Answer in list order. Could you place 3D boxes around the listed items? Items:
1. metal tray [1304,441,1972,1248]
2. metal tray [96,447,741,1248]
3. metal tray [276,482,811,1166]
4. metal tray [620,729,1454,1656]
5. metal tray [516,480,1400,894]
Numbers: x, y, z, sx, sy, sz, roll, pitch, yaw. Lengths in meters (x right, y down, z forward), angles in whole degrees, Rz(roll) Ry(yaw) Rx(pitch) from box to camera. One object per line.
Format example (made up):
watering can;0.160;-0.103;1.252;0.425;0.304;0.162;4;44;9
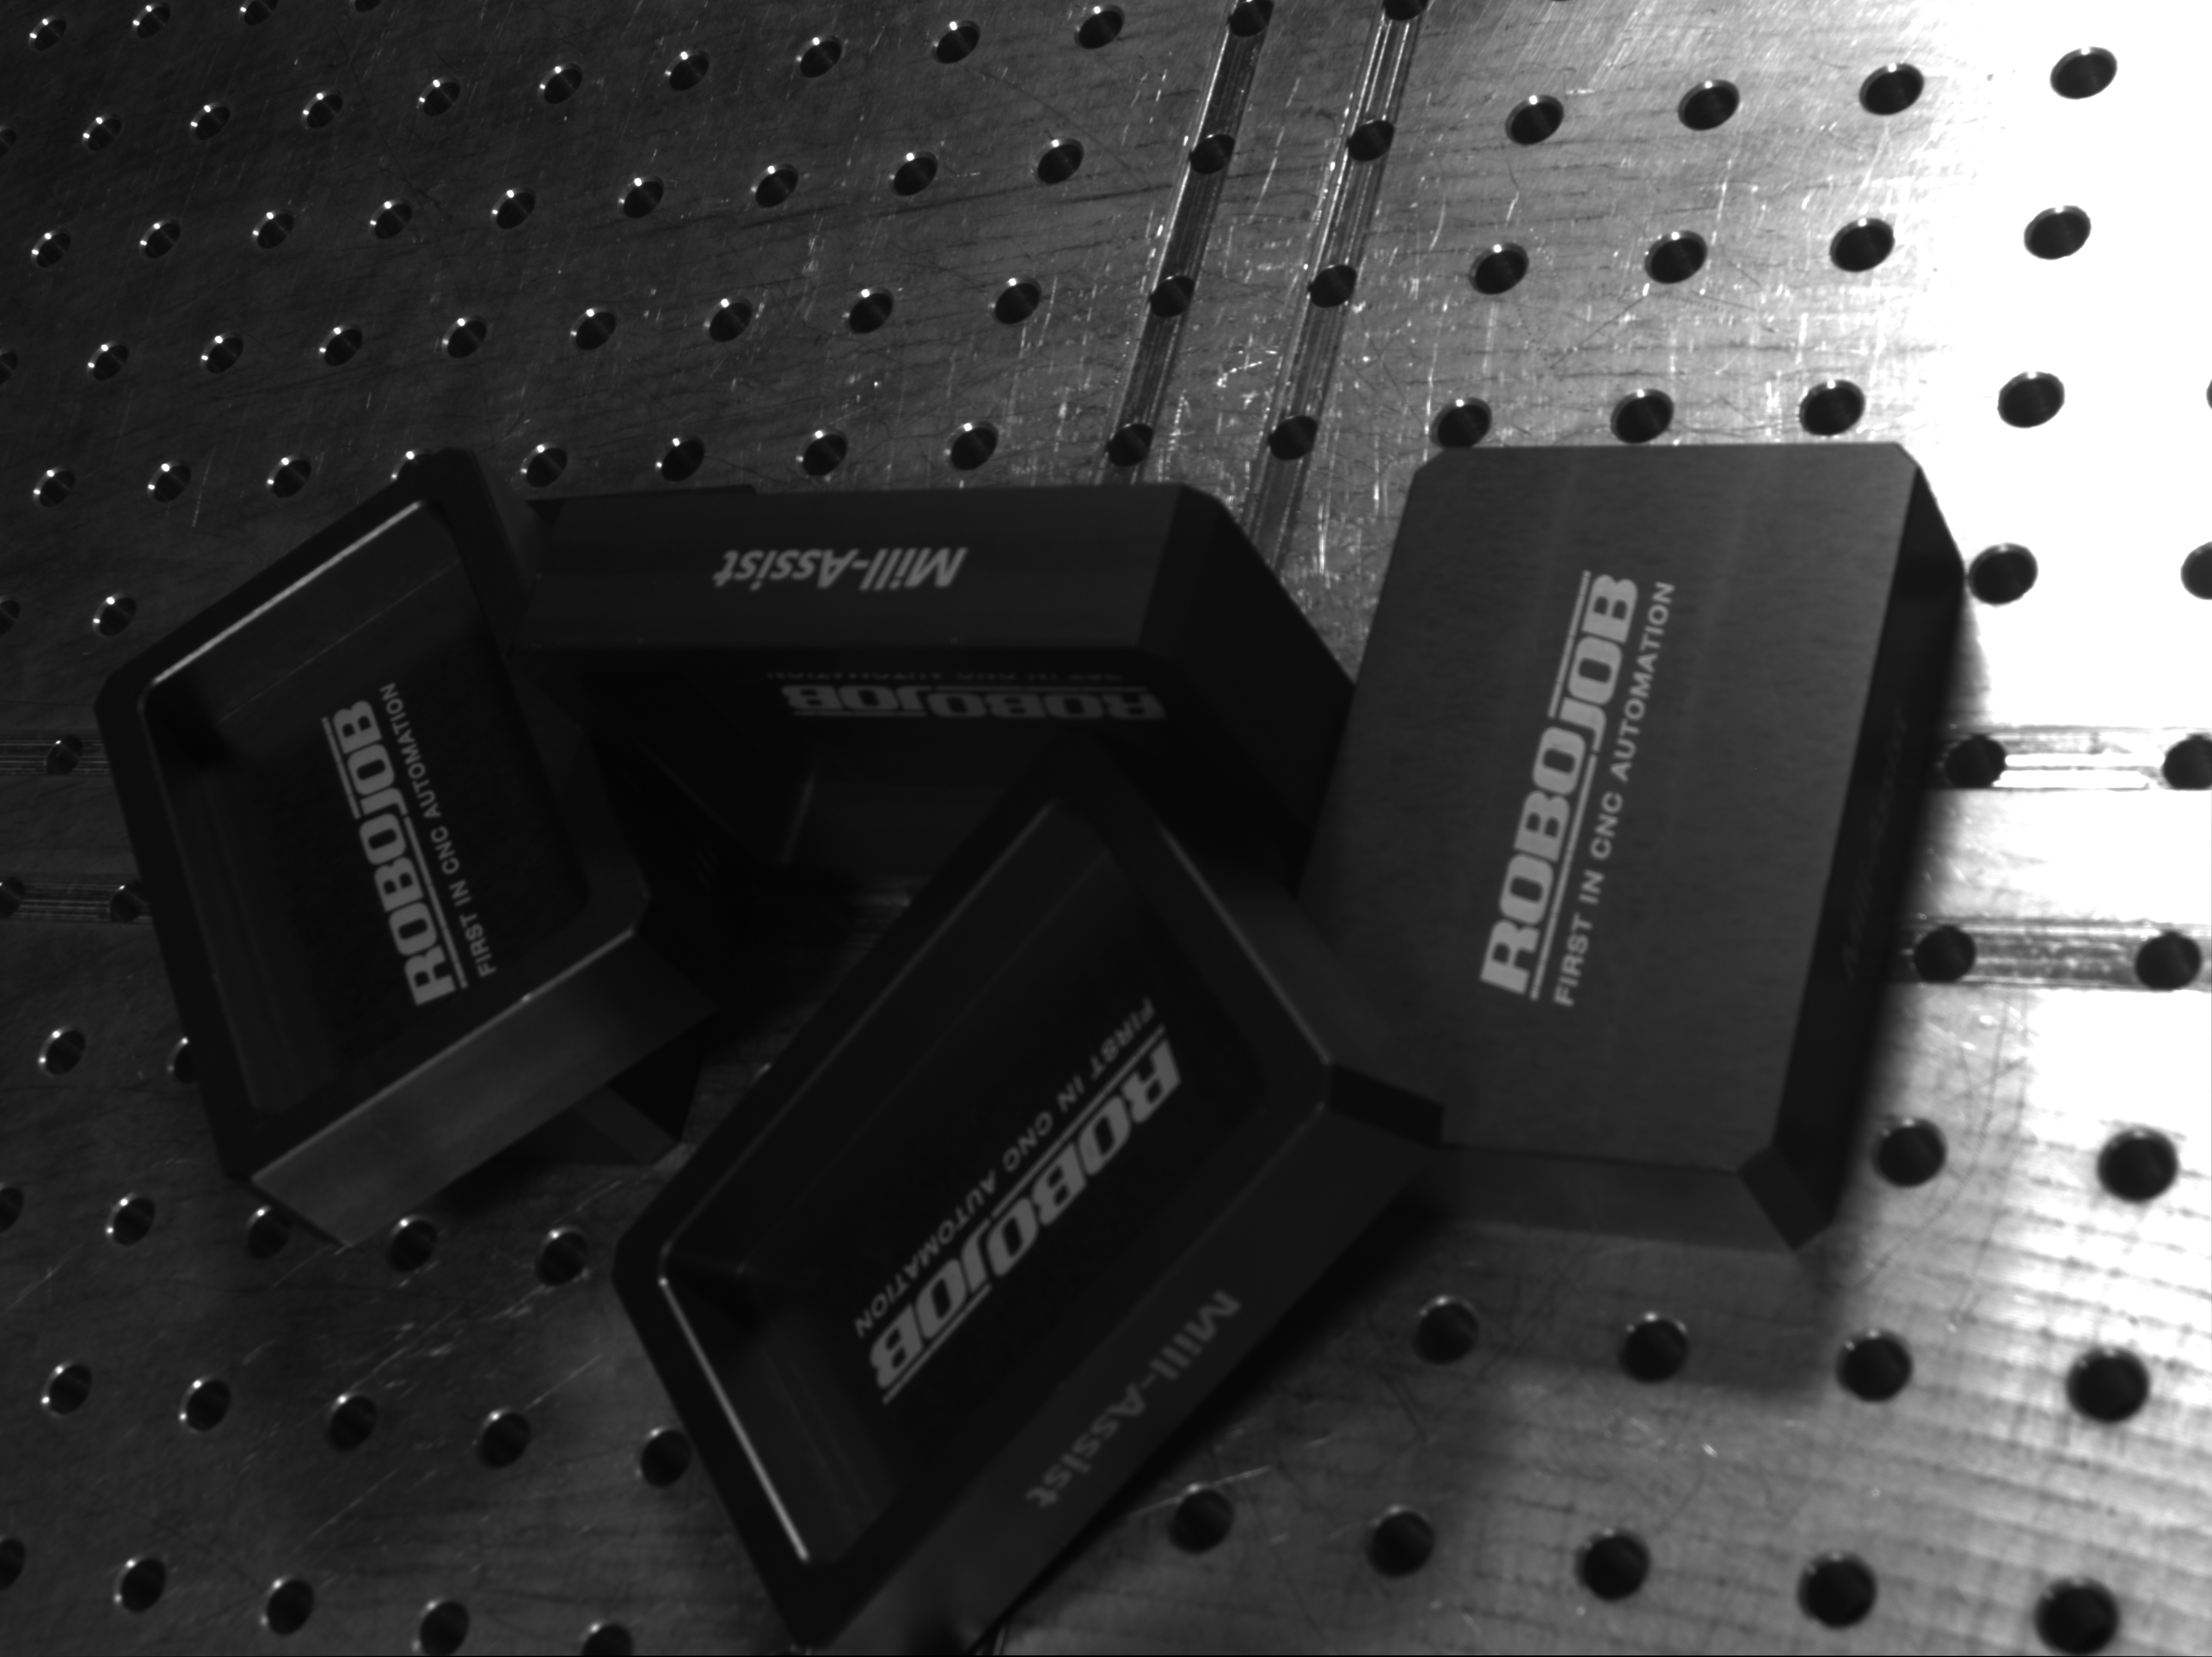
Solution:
metal tray;0.083;-0.001;0.598;0.090;0.030;0.130;3;63;30
metal tray;-0.129;0.001;0.672;0.090;0.030;0.130;-33;52;7
metal tray;-0.109;-0.002;0.704;0.090;0.030;0.130;-1;61;28
metal tray;-0.015;0.060;0.591;0.130;0.030;0.090;-49;49;16
metal tray;-0.024;-0.022;0.630;0.130;0.090;0.030;1;62;29
